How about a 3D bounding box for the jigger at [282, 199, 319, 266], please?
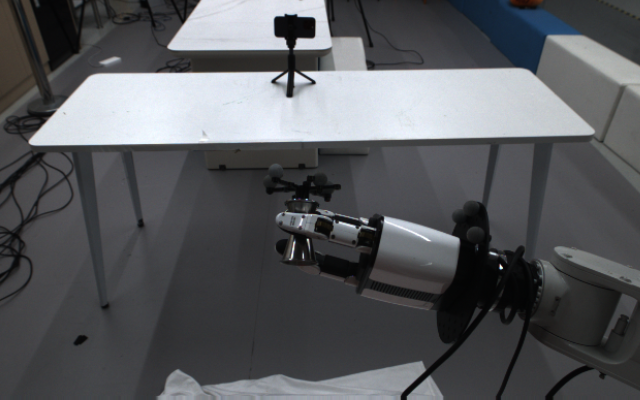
[{"bbox_3d":[-0.022,0.036,0.537,0.043,0.043,0.071,3,76,1],"label":"jigger"}]
